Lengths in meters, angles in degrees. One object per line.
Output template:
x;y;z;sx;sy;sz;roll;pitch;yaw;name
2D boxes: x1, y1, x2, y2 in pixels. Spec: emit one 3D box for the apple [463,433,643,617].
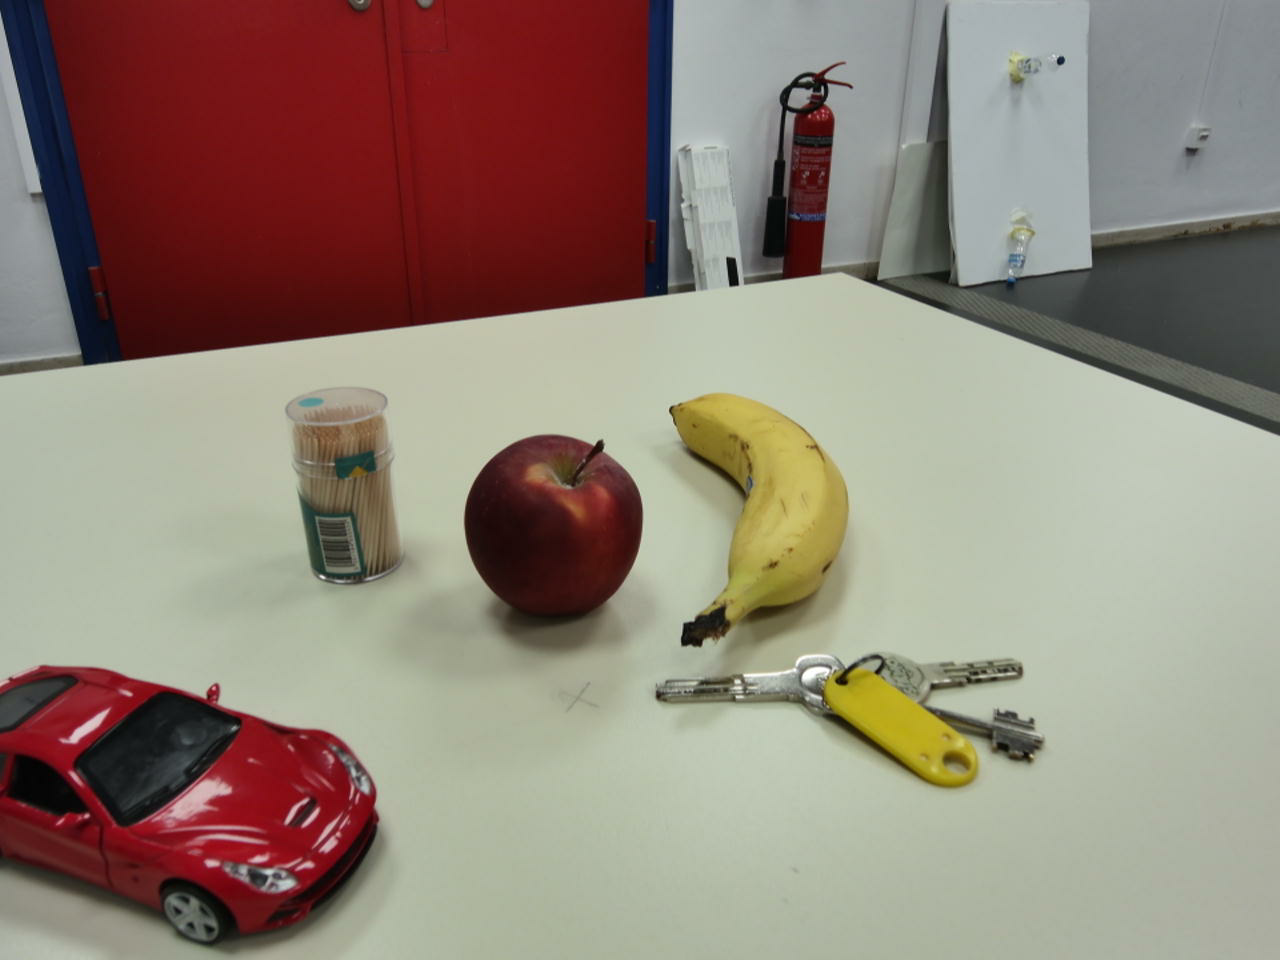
-0.033;0.018;0.390;0.070;0.072;0.070;0;24;0;apple
